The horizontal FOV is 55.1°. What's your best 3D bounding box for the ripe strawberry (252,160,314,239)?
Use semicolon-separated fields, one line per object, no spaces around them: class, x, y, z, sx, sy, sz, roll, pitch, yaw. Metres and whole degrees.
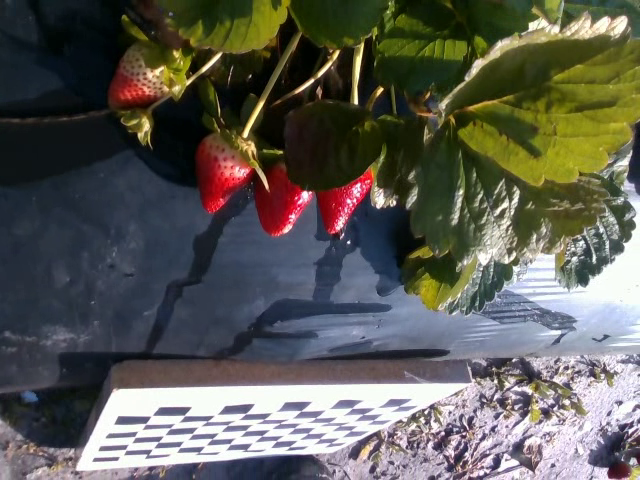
ripe strawberry;-0.017;-0.020;0.281;0.031;0.039;0.037;14;-11;-30

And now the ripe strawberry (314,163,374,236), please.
ripe strawberry;0.009;-0.020;0.294;0.035;0.041;0.034;5;6;-19

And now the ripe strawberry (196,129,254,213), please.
ripe strawberry;-0.045;-0.029;0.275;0.032;0.046;0.023;8;41;-22
